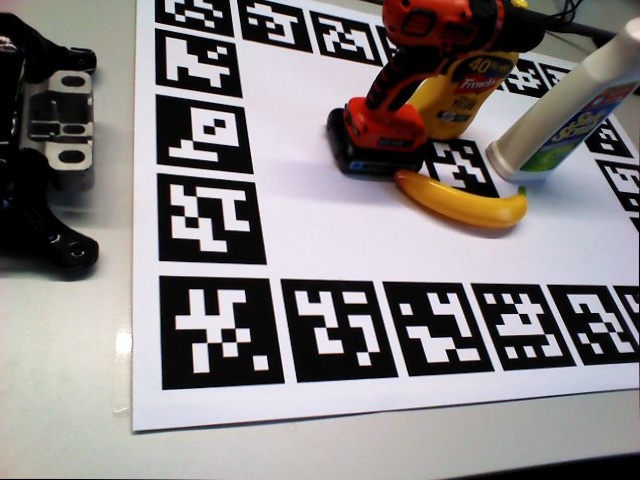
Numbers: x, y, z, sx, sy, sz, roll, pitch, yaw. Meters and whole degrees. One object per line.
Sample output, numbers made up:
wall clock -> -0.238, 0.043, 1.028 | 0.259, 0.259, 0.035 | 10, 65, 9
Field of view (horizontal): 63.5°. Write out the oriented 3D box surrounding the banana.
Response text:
banana -> 0.195, -0.045, 0.628 | 0.197, 0.039, 0.074 | 5, 61, -20

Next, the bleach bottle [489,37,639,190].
bleach bottle -> 0.331, -0.160, 0.643 | 0.102, 0.252, 0.067 | -5, 63, -27

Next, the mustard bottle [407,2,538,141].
mustard bottle -> 0.194, -0.205, 0.638 | 0.096, 0.193, 0.058 | 4, 57, -24

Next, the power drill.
power drill -> 0.117, -0.168, 0.554 | 0.184, 0.188, 0.057 | 2, 52, -27
